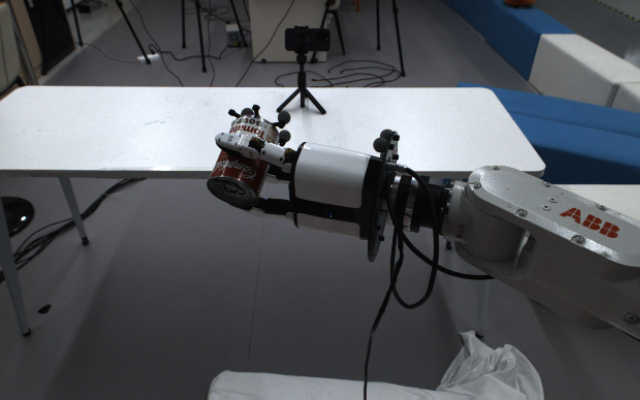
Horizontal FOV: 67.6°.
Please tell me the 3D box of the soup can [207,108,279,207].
[{"bbox_3d":[-0.097,-0.051,0.631,0.067,0.067,0.101,9,60,10],"label":"soup can"}]
